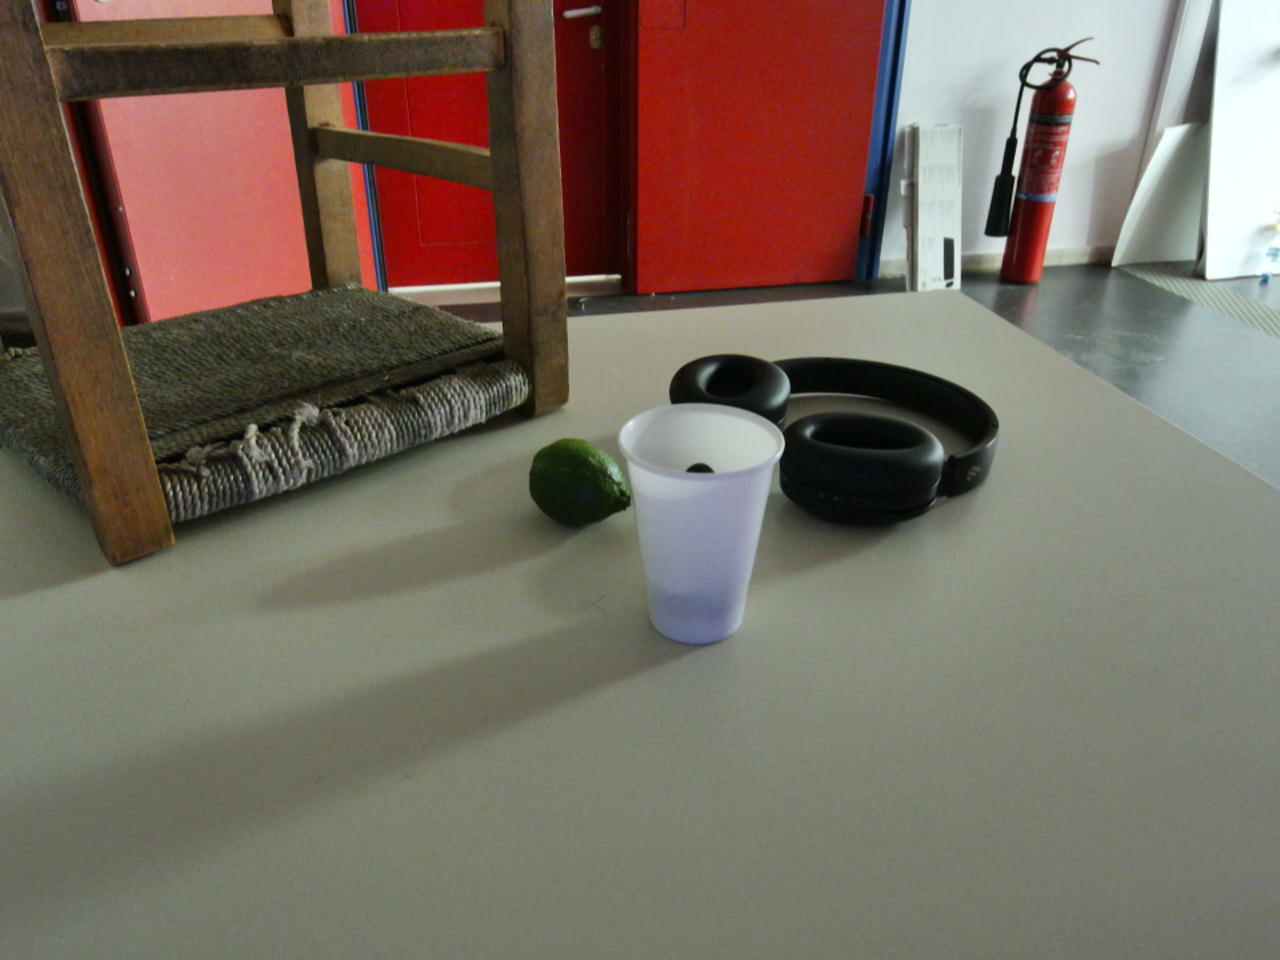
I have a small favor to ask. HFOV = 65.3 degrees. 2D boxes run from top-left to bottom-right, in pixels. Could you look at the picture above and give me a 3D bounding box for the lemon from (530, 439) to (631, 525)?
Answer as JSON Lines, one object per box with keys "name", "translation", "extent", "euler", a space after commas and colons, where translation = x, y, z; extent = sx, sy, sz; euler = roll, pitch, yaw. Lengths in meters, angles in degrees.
{"name": "lemon", "translation": [-0.038, 0.000, 0.599], "extent": [0.057, 0.051, 0.054], "euler": [-8, 27, -15]}
